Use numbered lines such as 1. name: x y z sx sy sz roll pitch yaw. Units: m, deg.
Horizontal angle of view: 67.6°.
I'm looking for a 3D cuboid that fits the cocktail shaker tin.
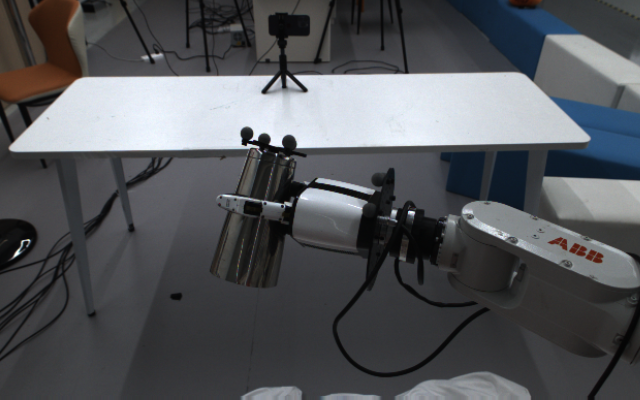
1. cocktail shaker tin: -0.083 0.021 0.647 0.093 0.170 0.093 14 2 0
